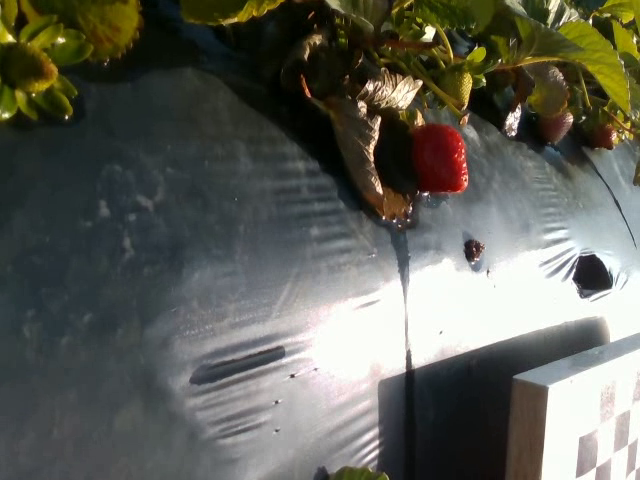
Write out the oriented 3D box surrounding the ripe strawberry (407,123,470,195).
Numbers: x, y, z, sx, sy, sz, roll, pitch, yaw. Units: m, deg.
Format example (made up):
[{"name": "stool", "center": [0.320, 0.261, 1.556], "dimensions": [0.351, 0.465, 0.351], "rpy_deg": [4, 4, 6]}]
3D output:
[{"name": "ripe strawberry", "center": [0.059, -0.030, 0.281], "dimensions": [0.037, 0.054, 0.046], "rpy_deg": [-40, -43, 22]}]
